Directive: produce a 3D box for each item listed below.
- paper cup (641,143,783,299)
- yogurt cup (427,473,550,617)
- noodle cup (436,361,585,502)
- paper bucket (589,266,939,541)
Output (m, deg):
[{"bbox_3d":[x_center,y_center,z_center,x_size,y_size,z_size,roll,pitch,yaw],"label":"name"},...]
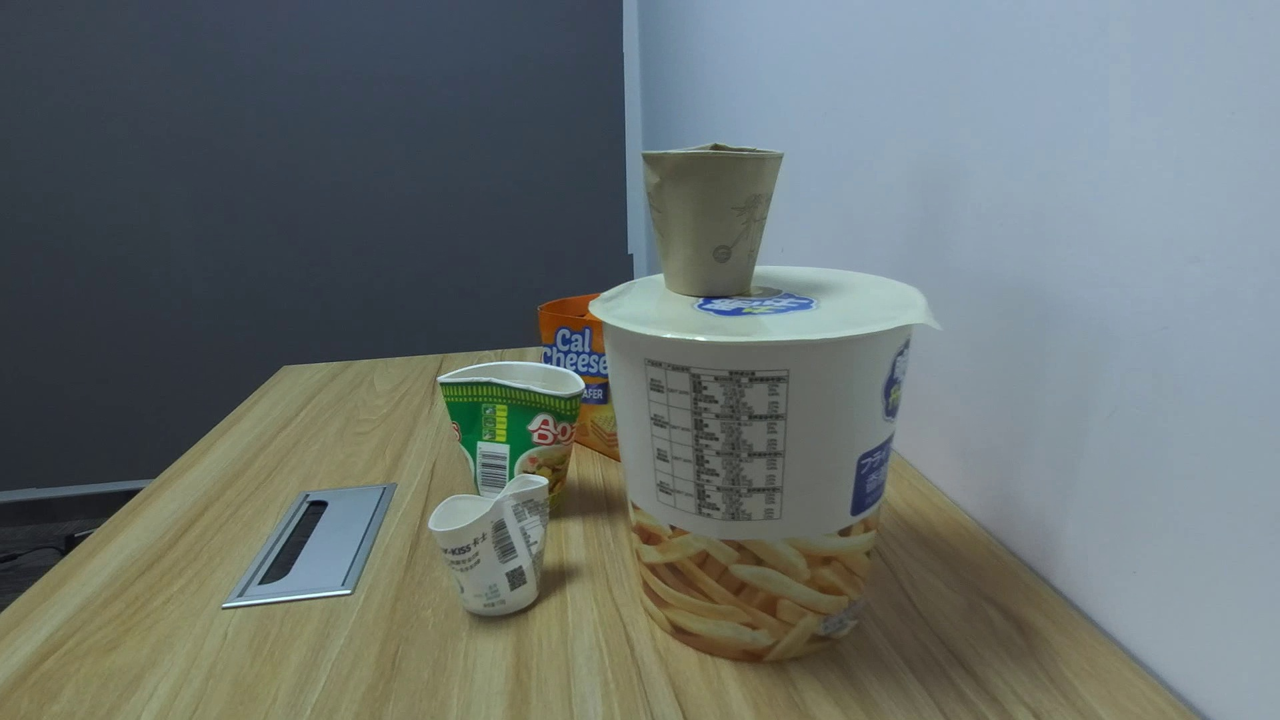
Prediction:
[{"bbox_3d":[0.041,-0.083,0.421,0.066,0.084,0.071,-15,24,-35],"label":"paper cup"},{"bbox_3d":[-0.092,0.119,0.452,0.053,0.071,0.075,5,20,17],"label":"yogurt cup"},{"bbox_3d":[-0.097,0.063,0.562,0.114,0.111,0.070,16,28,41],"label":"noodle cup"},{"bbox_3d":[0.069,0.054,0.433,0.198,0.194,0.198,-3,18,1],"label":"paper bucket"}]
